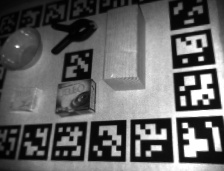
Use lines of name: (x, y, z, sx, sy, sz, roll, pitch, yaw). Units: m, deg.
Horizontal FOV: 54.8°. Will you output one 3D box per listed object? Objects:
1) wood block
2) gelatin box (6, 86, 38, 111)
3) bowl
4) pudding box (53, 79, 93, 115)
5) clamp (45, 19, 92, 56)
wood block: (0.033, -0.098, 0.574, 0.089, 0.092, 0.206, -2, 71, 20)
gelatin box: (-0.283, 0.040, 0.678, 0.088, 0.030, 0.073, 3, 75, 22)
bowl: (-0.302, -0.121, 0.736, 0.160, 0.056, 0.161, -5, 73, 18)
pudding box: (-0.110, 0.034, 0.612, 0.113, 0.039, 0.090, -7, 74, 21)
clamp: (-0.146, -0.172, 0.707, 0.164, 0.037, 0.121, -15, 67, 13)
